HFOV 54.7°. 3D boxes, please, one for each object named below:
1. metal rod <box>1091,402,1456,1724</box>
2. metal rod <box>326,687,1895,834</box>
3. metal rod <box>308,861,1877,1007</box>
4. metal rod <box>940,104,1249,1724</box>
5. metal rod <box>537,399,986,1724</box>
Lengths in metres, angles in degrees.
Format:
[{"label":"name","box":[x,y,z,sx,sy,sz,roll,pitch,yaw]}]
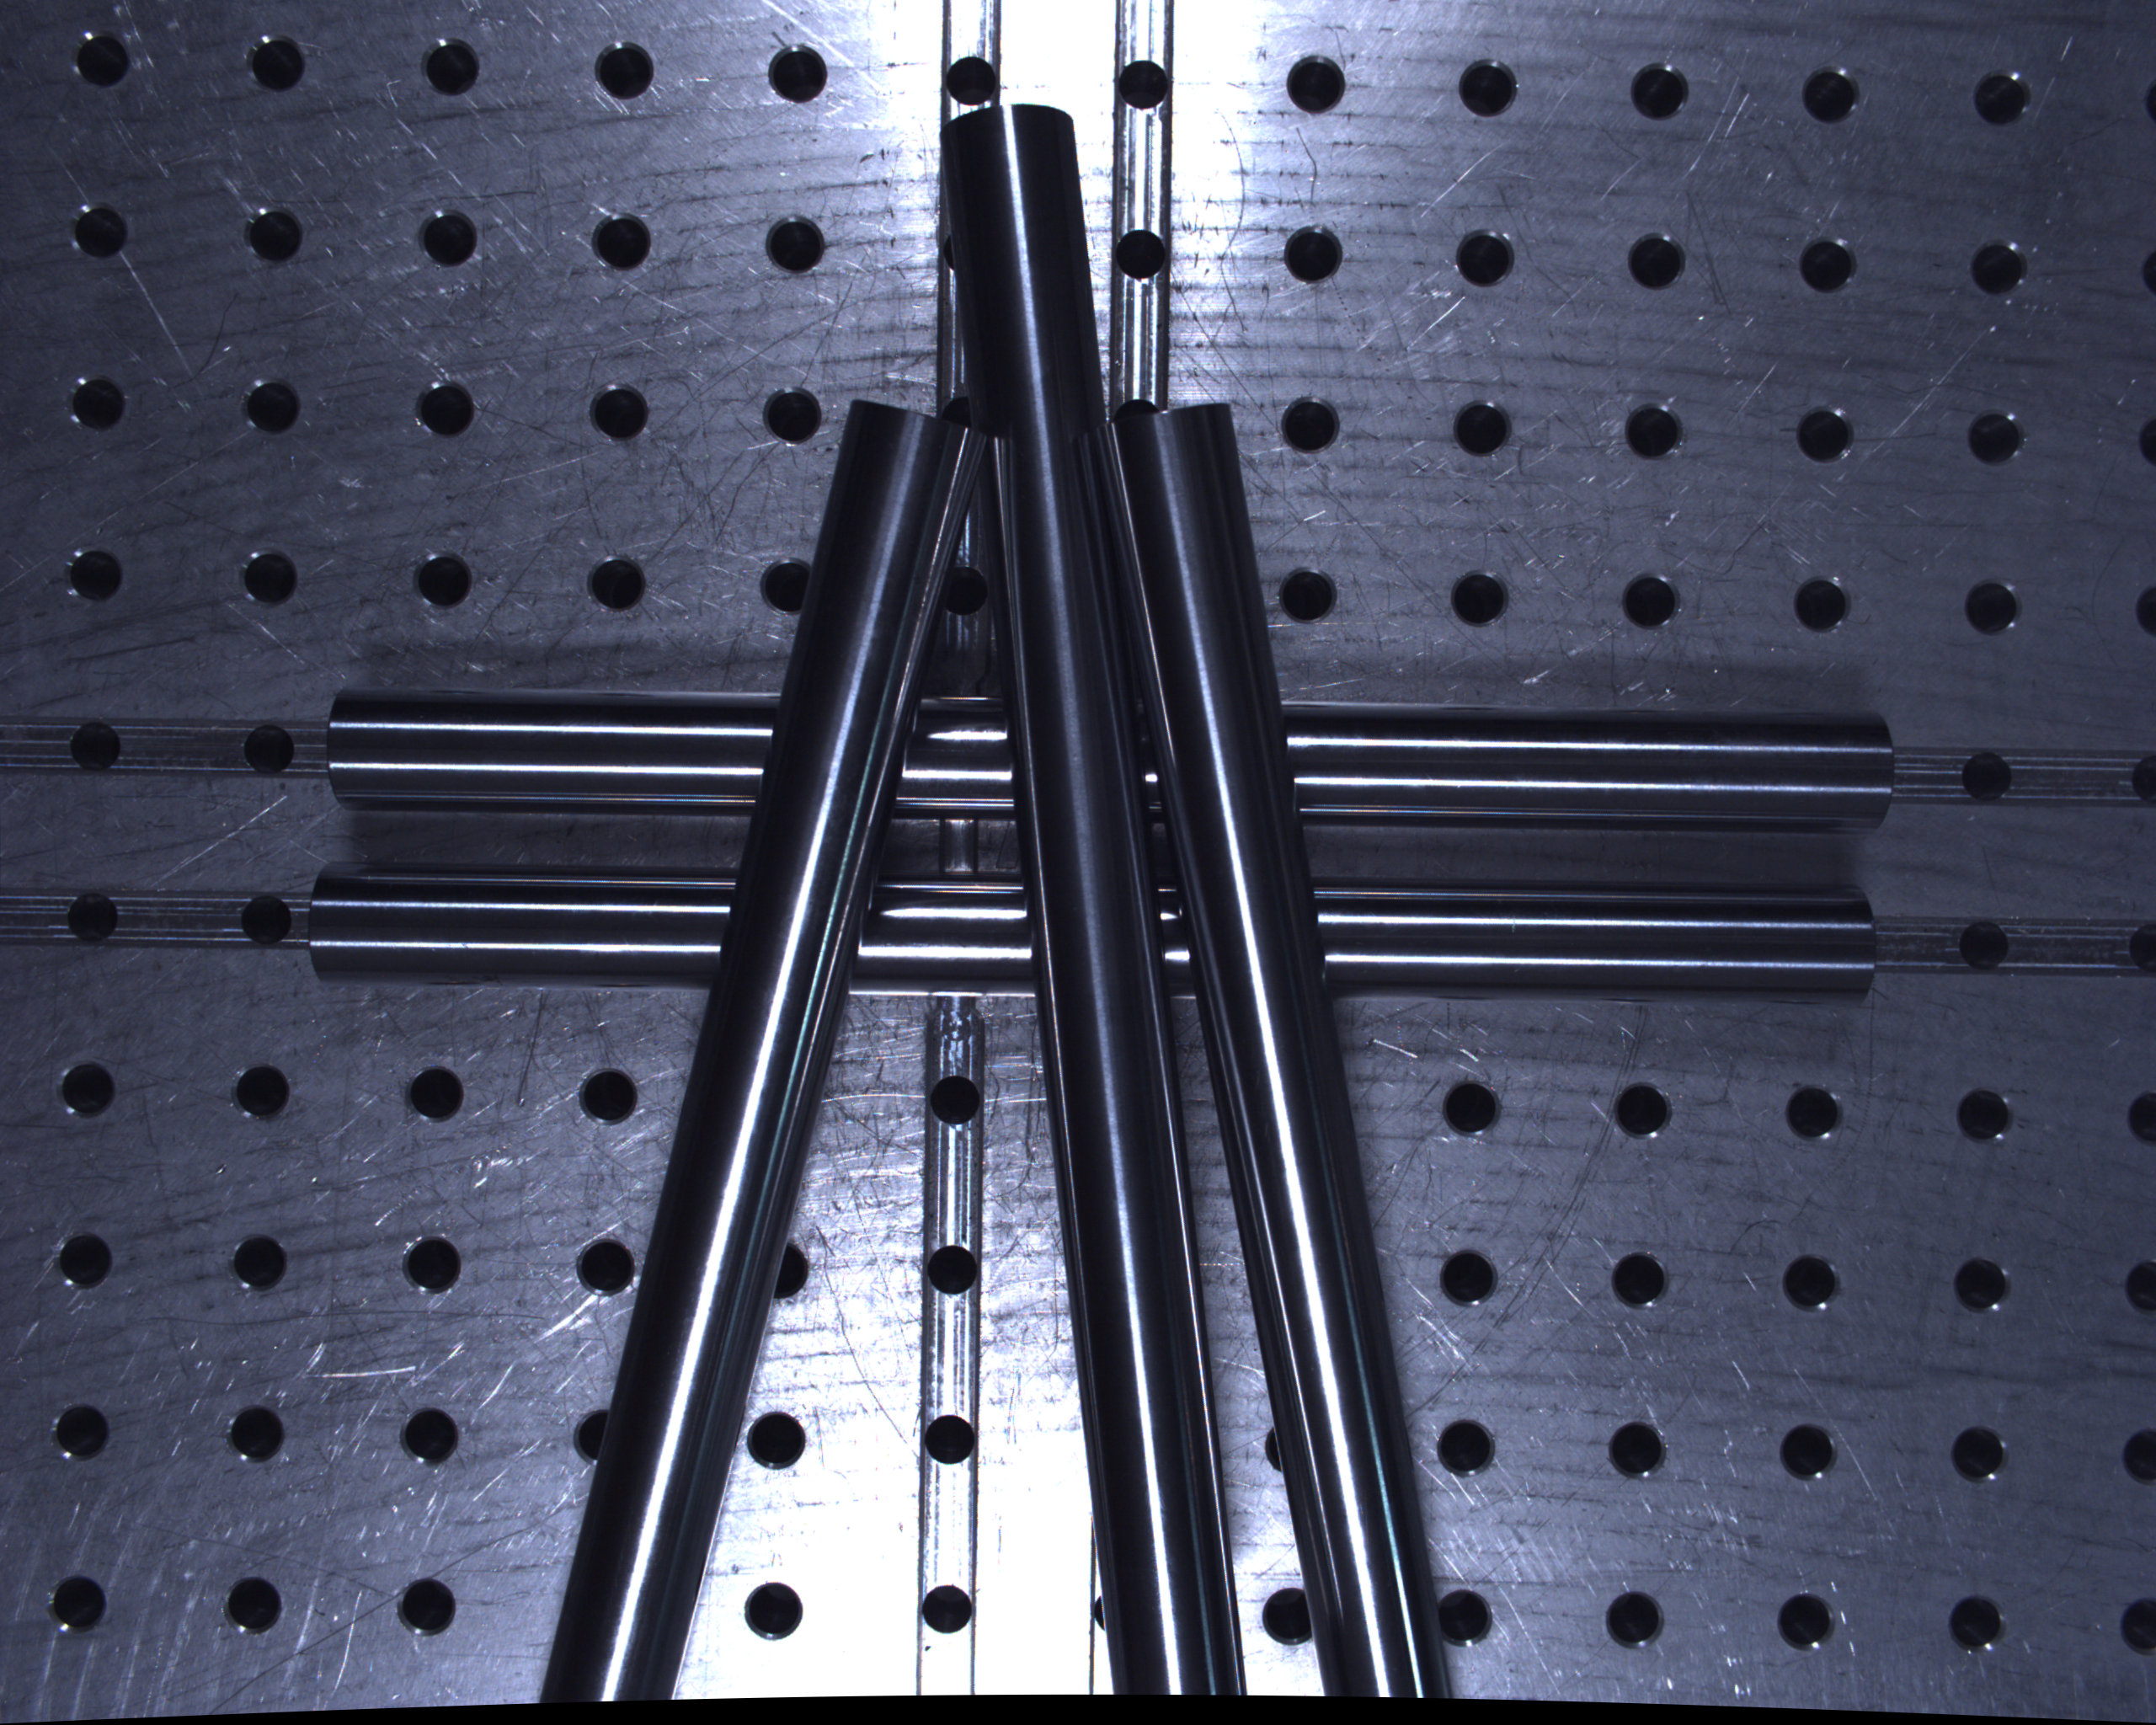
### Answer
[{"label":"metal rod","box":[0.042,0.065,0.395,0.025,0.025,0.298,-11,97,0]},{"label":"metal rod","box":[0.007,-0.020,0.414,0.302,0.025,0.025,1,90,-1]},{"label":"metal rod","box":[0.003,0.014,0.414,0.302,0.025,0.025,1,90,-1]},{"label":"metal rod","box":[0.003,0.012,0.389,0.025,0.025,0.298,-6,90,0]},{"label":"metal rod","box":[-0.066,0.063,0.394,0.025,0.025,0.298,14,97,-1]}]
